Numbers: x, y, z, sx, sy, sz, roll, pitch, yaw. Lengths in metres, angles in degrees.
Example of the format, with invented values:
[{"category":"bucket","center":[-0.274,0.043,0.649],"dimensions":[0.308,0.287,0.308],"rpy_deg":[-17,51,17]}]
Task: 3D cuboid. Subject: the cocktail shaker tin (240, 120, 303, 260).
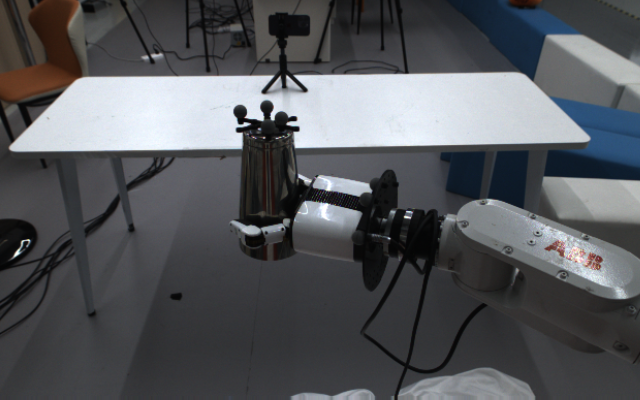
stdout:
[{"category":"cocktail shaker tin","center":[-0.067,-0.014,0.657],"dimensions":[0.093,0.170,0.093],"rpy_deg":[1,28,-1]}]
